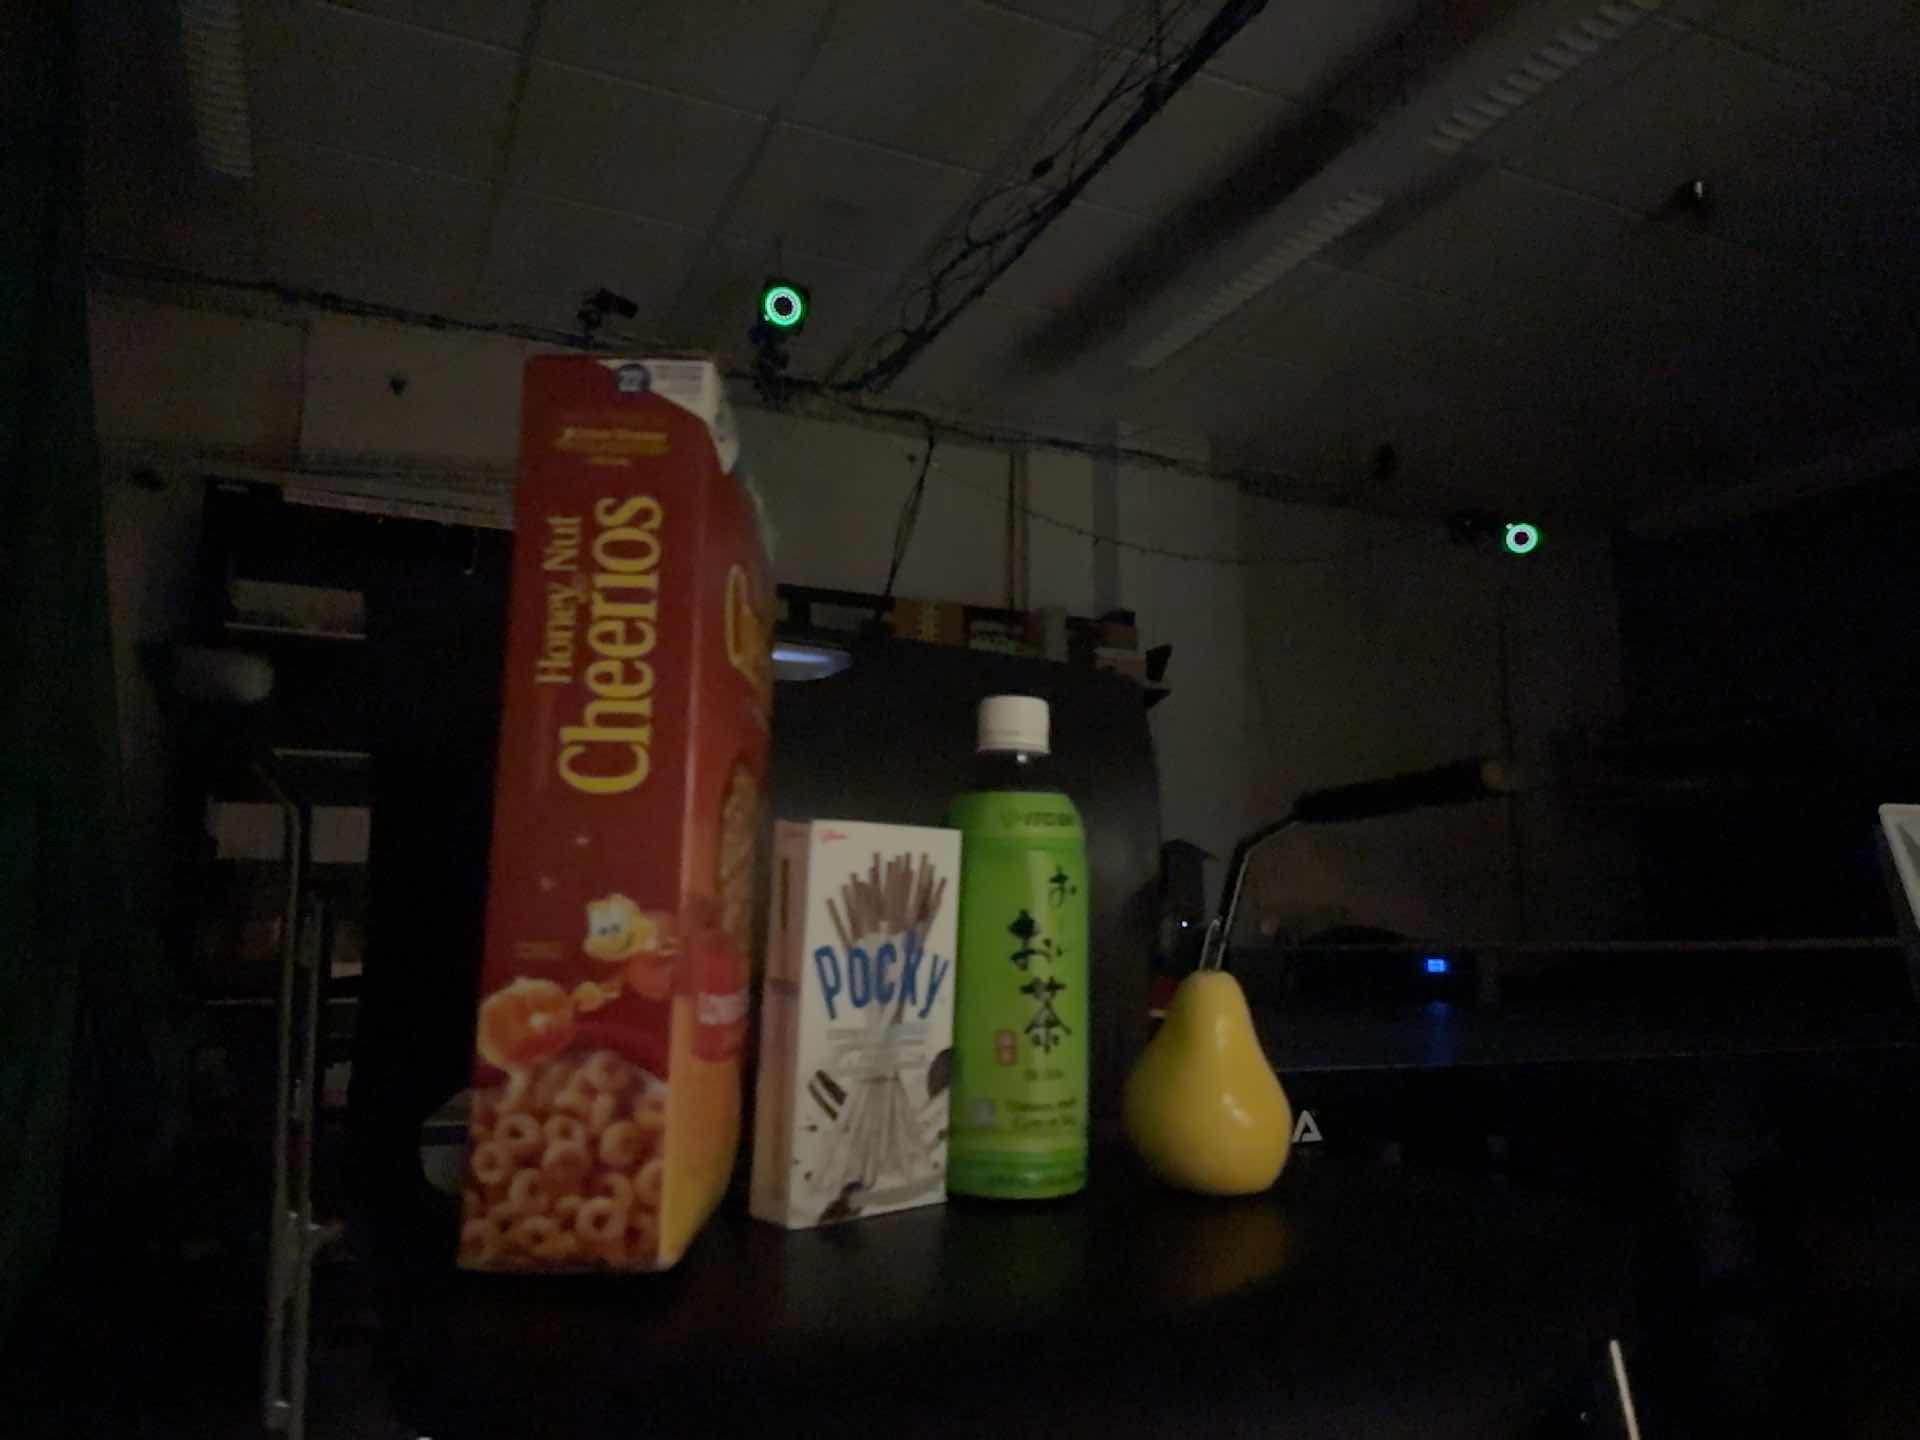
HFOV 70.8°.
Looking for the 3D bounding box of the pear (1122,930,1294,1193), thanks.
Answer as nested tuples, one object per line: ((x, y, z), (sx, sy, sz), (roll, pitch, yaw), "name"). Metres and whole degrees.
((0.108, 0.151, 0.605), (0.080, 0.111, 0.080), (-4, -11, -1), "pear")

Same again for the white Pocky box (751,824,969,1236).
((-0.039, 0.120, 0.542), (0.084, 0.154, 0.028), (7, -5, -42), "white Pocky box")

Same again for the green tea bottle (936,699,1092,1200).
((0.021, 0.097, 0.595), (0.073, 0.212, 0.073), (-2, -6, 0), "green tea bottle")

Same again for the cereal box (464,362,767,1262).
((-0.126, 0.037, 0.547), (0.065, 0.297, 0.195), (2, -10, -3), "cereal box")
